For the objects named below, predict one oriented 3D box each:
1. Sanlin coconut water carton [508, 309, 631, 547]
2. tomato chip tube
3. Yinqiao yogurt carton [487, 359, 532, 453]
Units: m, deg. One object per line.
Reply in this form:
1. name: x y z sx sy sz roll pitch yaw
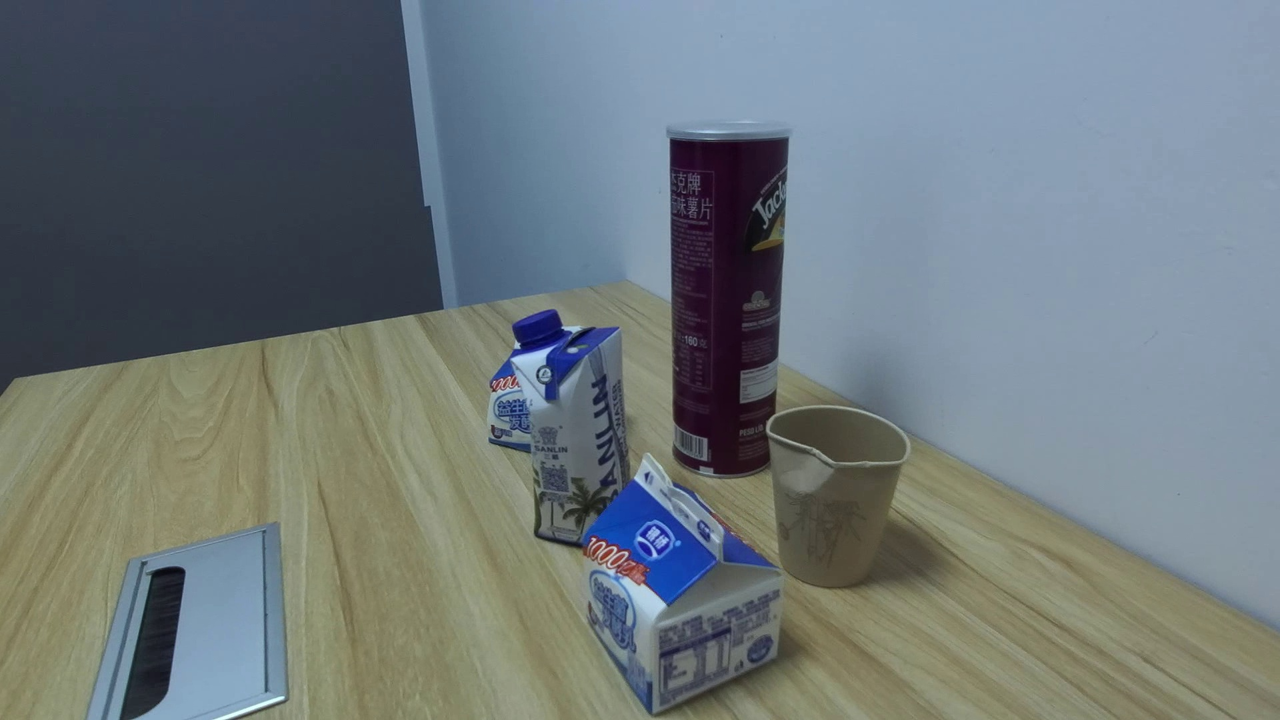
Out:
1. Sanlin coconut water carton: -0.039 0.039 0.429 0.057 0.142 0.078 2 22 22
2. tomato chip tube: 0.059 -0.037 0.485 0.078 0.234 0.078 -1 21 1
3. Yinqiao yogurt carton: -0.066 0.015 0.537 0.083 0.093 0.077 9 24 28
